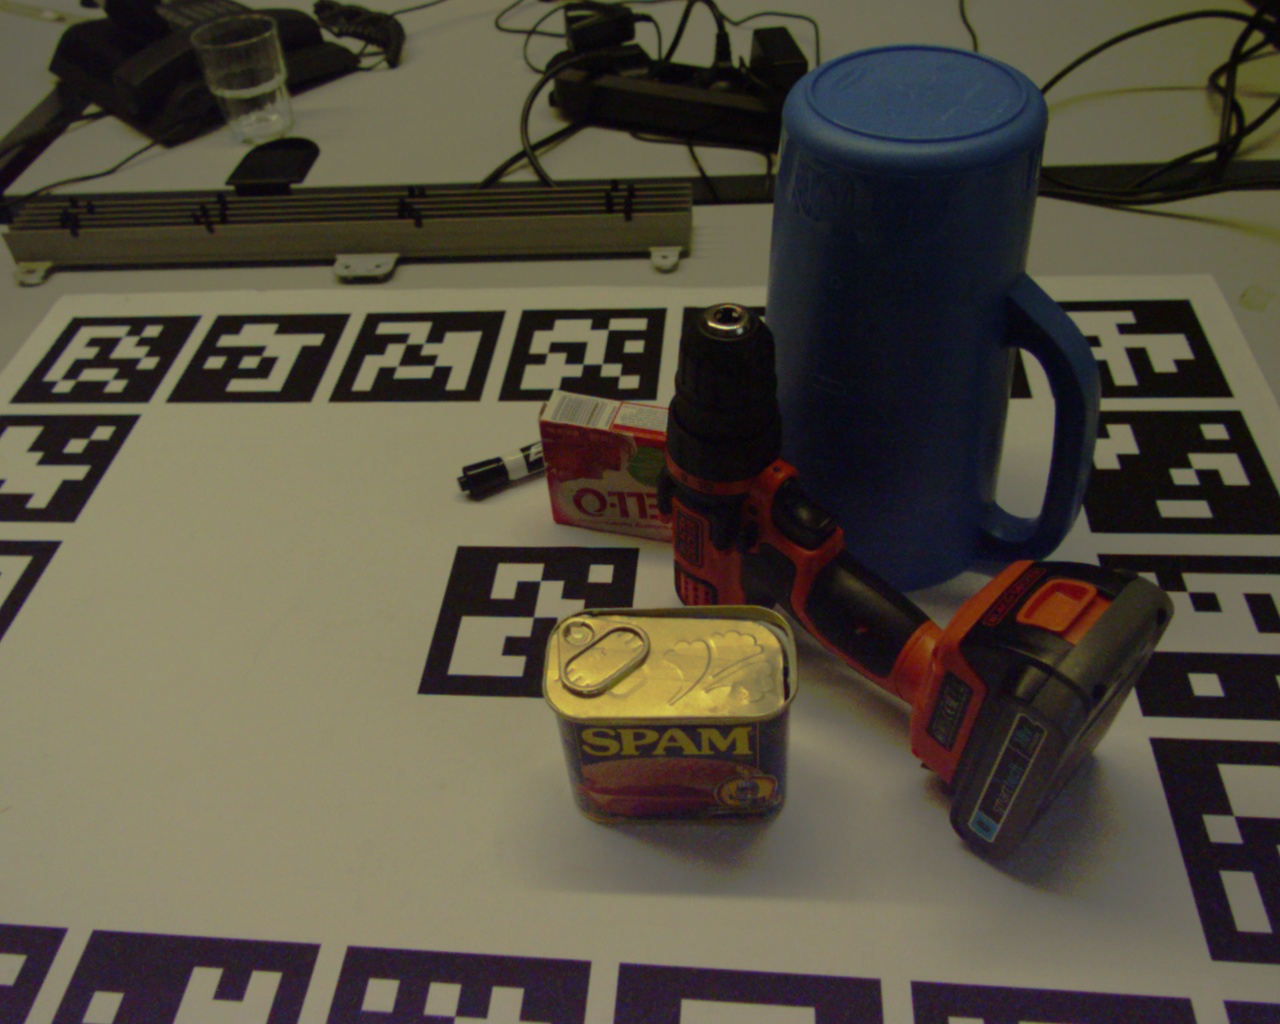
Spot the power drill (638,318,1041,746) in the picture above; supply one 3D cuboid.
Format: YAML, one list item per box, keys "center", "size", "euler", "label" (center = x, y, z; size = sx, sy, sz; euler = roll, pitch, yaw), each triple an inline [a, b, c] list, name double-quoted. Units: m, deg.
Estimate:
- center: [0.080, 0.013, 0.523]
  size: [0.189, 0.184, 0.057]
  euler: [32, 60, 24]
  label: "power drill"

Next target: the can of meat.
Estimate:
- center: [0.011, 0.091, 0.521]
  size: [0.102, 0.083, 0.058]
  euler: [0, 44, 6]
  label: "can of meat"

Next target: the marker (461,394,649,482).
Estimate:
- center: [-0.052, -0.045, 0.705]
  size: [0.120, 0.019, 0.020]
  euler: [-20, 48, -10]
  label: "marker"

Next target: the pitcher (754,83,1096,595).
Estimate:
- center: [0.134, -0.077, 0.571]
  size: [0.191, 0.241, 0.132]
  euler: [23, 56, 33]
  label: "pitcher"

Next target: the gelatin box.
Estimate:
- center: [-0.004, -0.022, 0.643]
  size: [0.090, 0.073, 0.030]
  euler: [10, 52, 13]
  label: "gelatin box"
